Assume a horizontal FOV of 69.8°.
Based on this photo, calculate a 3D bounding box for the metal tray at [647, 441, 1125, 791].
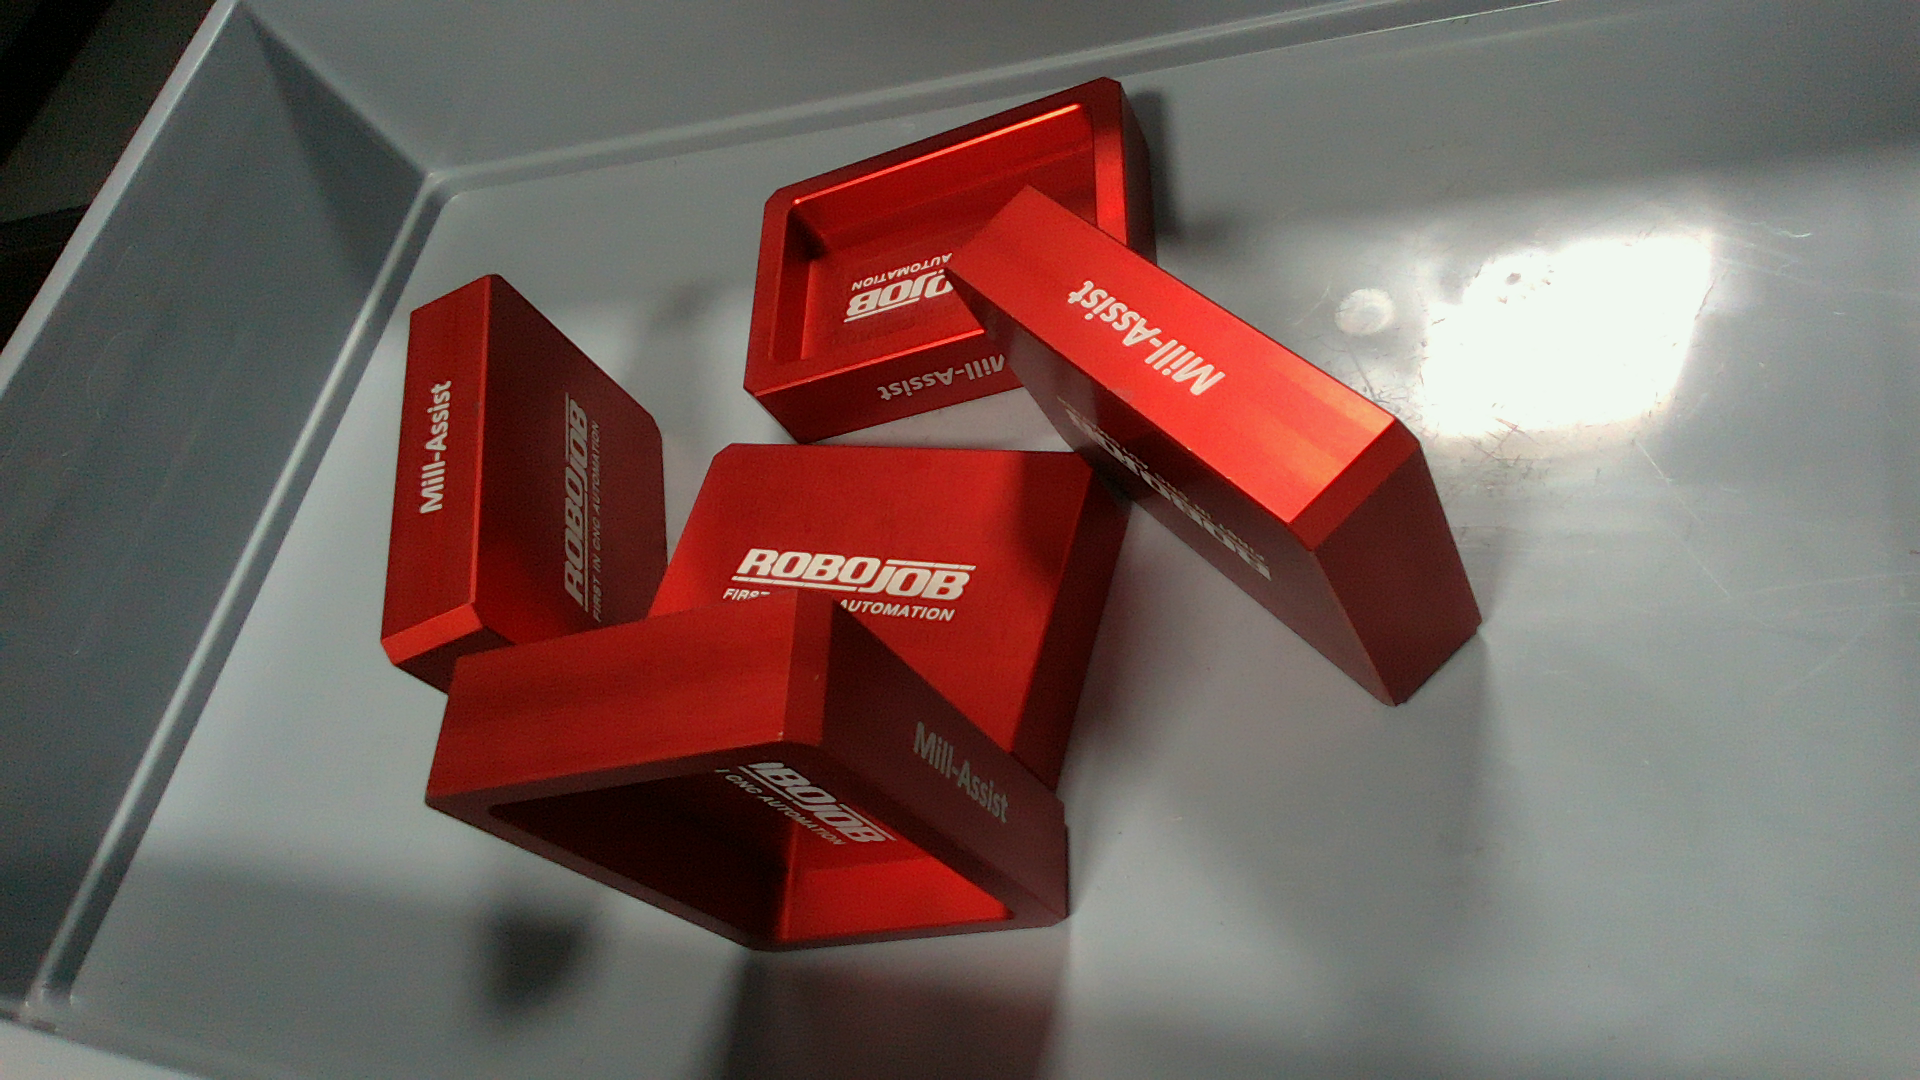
[{"bbox_3d":[-0.026,0.018,0.390,0.130,0.030,0.090,3,63,30],"label":"metal tray"}]

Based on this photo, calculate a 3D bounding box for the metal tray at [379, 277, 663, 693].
[{"bbox_3d":[-0.129,-0.005,0.423,0.030,0.090,0.130,-22,54,15],"label":"metal tray"}]

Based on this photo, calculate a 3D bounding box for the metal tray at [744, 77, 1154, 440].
[{"bbox_3d":[-0.003,-0.090,0.446,0.130,0.030,0.090,-13,56,21],"label":"metal tray"}]

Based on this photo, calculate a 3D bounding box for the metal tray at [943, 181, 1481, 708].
[{"bbox_3d":[0.059,-0.024,0.332,0.030,0.090,0.130,-44,51,-1],"label":"metal tray"}]

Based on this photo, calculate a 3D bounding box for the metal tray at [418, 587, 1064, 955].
[{"bbox_3d":[-0.040,0.059,0.308,0.090,0.130,0.030,-12,57,21],"label":"metal tray"}]
